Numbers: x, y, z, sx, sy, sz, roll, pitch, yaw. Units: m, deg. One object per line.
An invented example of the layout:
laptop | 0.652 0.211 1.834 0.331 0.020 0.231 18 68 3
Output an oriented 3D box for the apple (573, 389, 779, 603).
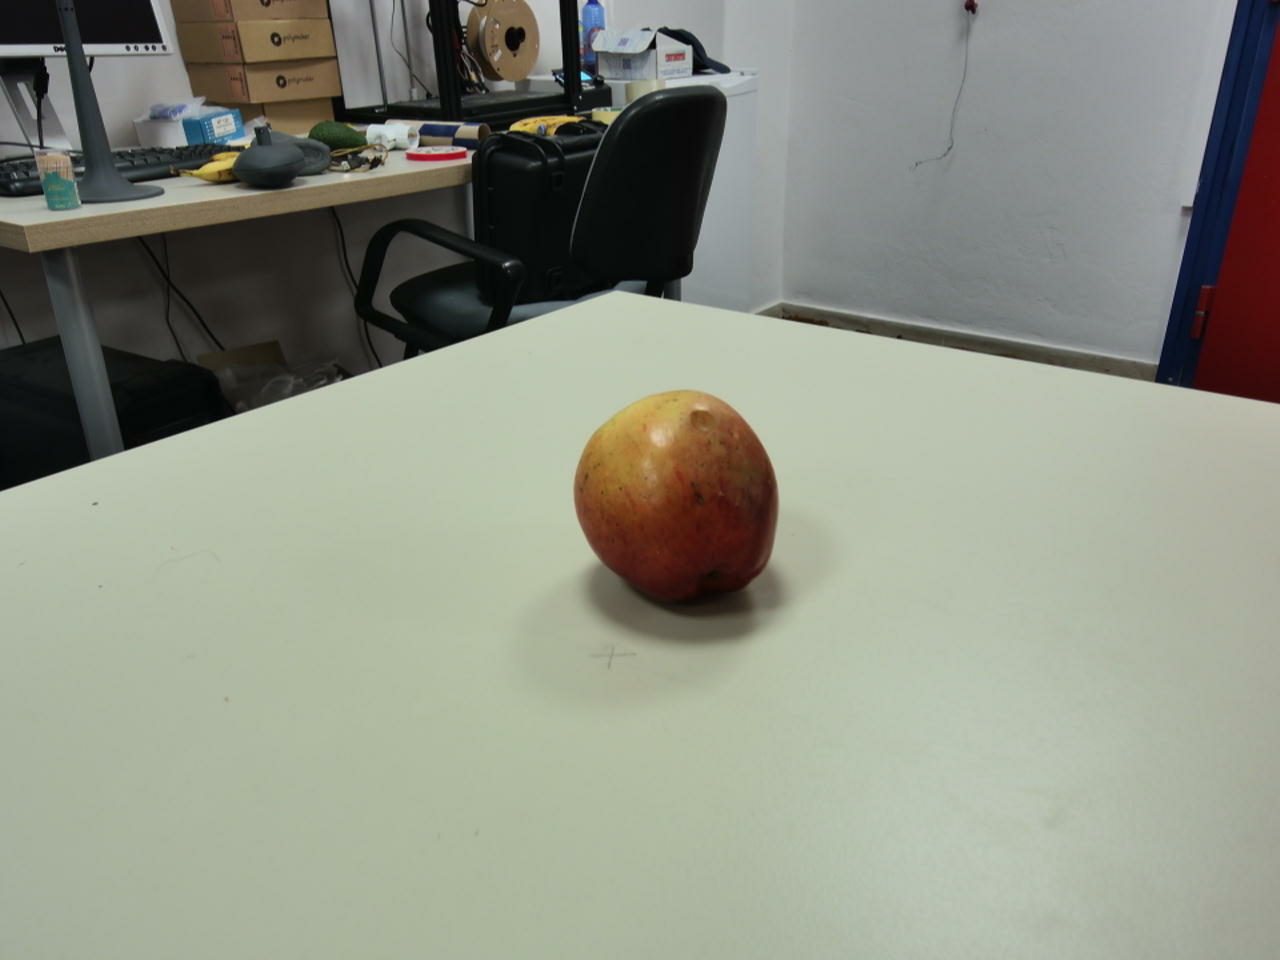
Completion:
apple | 0.015 0.006 0.425 0.086 0.084 0.093 0 23 2
